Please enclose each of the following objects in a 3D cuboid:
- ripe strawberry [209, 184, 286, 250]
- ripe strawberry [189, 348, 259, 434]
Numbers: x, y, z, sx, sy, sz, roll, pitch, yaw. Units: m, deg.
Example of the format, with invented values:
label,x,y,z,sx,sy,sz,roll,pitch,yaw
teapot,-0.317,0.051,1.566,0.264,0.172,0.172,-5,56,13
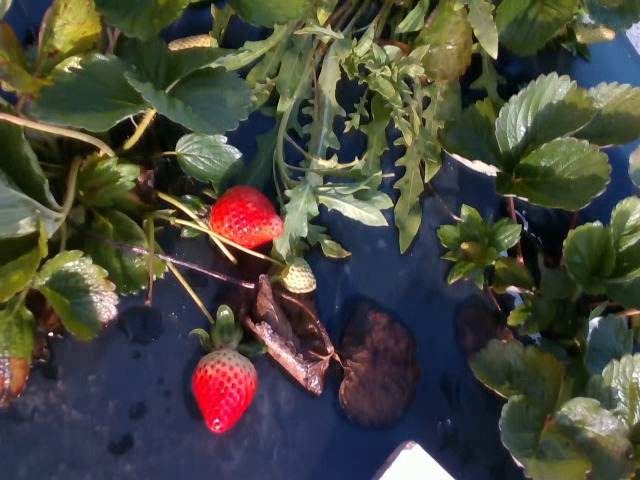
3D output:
label,x,y,z,sx,sy,sz,roll,pitch,yaw
ripe strawberry,-0.037,-0.014,0.348,0.048,0.040,0.032,11,-28,40
ripe strawberry,-0.047,0.072,0.320,0.035,0.043,0.030,8,-24,-7
